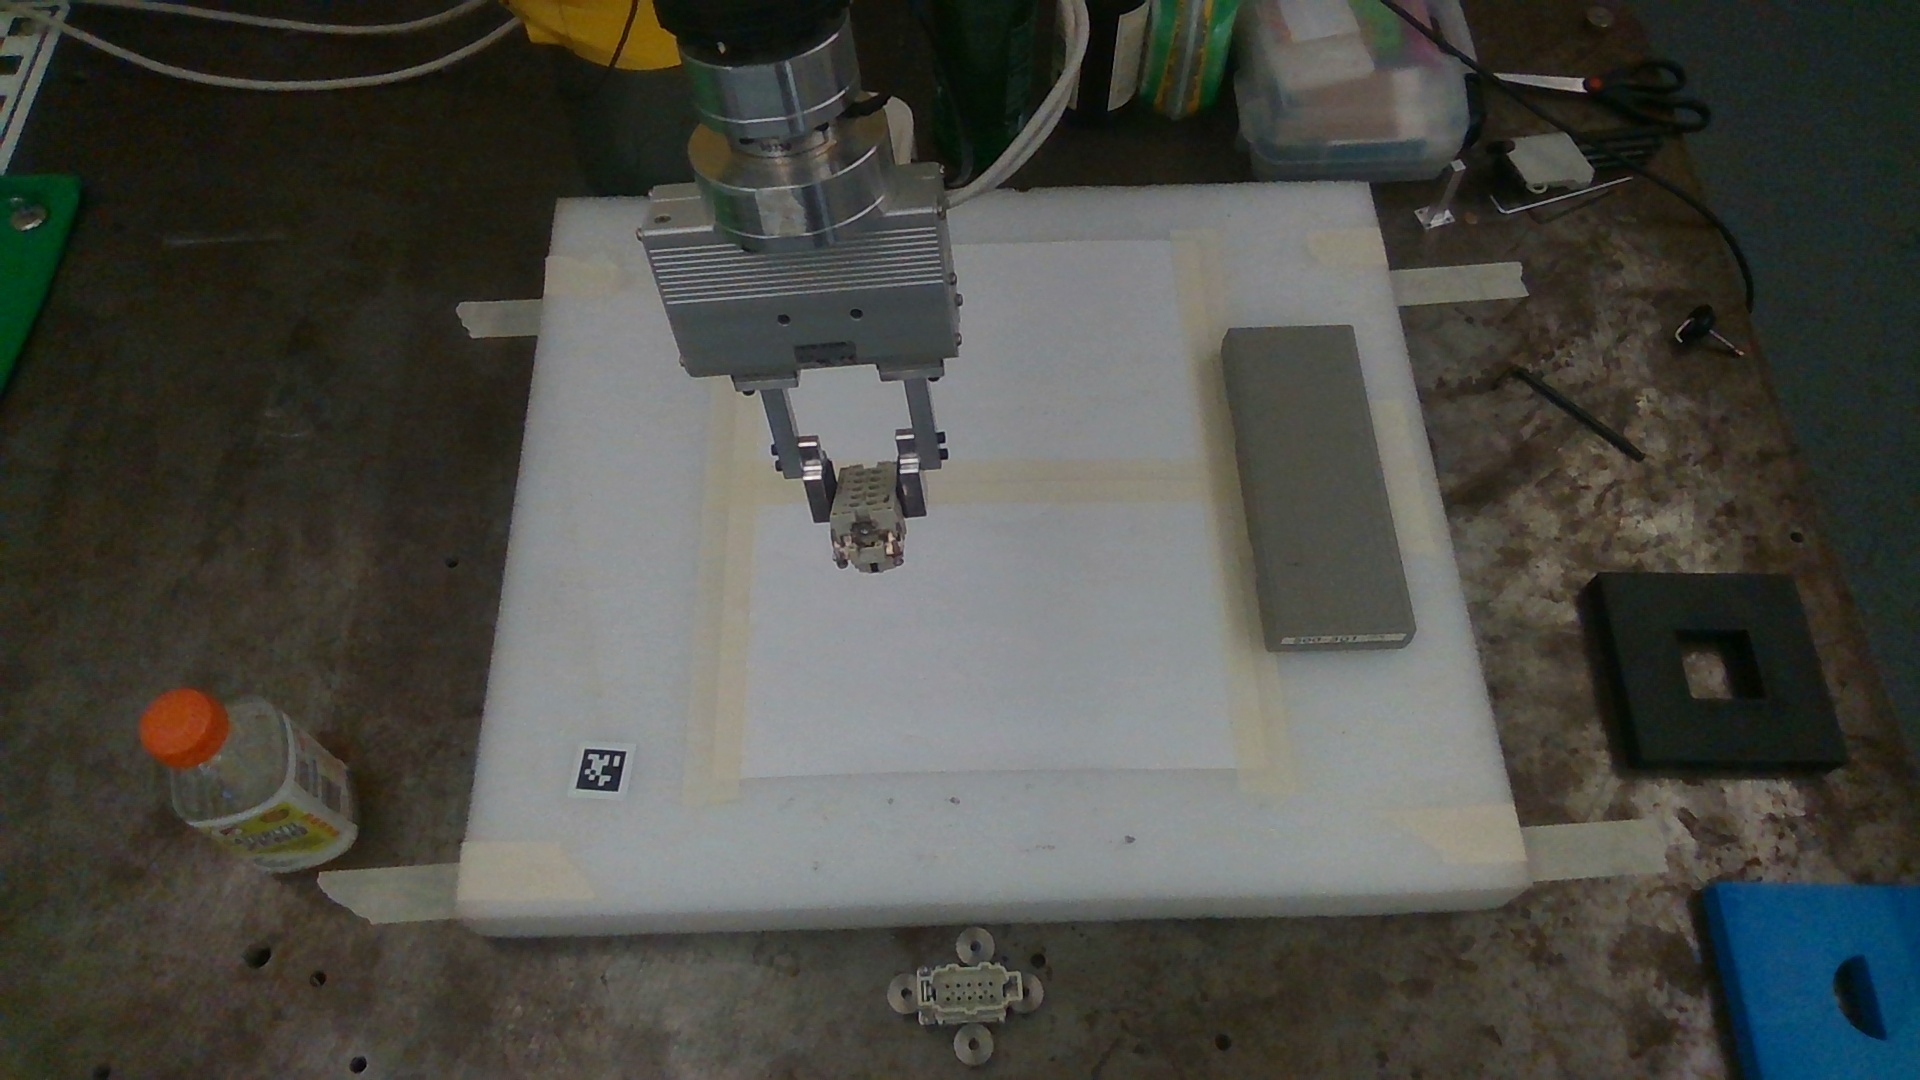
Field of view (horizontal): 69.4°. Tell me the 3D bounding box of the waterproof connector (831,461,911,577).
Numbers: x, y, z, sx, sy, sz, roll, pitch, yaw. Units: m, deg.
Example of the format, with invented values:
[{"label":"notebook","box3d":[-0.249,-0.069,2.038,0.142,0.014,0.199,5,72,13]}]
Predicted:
[{"label":"waterproof connector","box3d":[-0.043,-0.011,0.679,0.037,0.038,0.069,-8,29,2]}]
